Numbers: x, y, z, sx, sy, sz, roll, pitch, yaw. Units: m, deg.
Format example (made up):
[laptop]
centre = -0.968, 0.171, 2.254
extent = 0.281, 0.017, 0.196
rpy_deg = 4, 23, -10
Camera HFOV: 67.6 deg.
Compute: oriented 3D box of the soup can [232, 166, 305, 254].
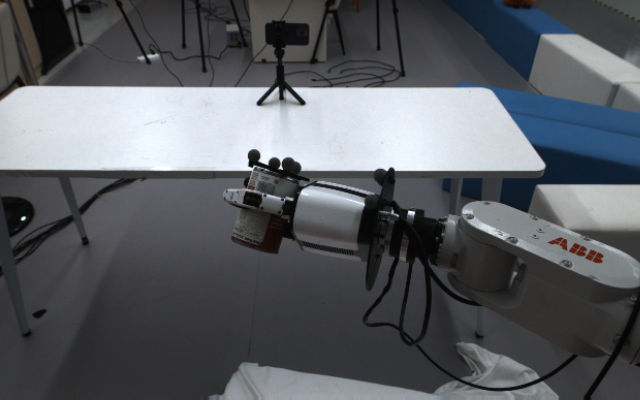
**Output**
[soup can]
centre = -0.072, 0.015, 0.649
extent = 0.067, 0.101, 0.067
rpy_deg = 17, -1, 0
